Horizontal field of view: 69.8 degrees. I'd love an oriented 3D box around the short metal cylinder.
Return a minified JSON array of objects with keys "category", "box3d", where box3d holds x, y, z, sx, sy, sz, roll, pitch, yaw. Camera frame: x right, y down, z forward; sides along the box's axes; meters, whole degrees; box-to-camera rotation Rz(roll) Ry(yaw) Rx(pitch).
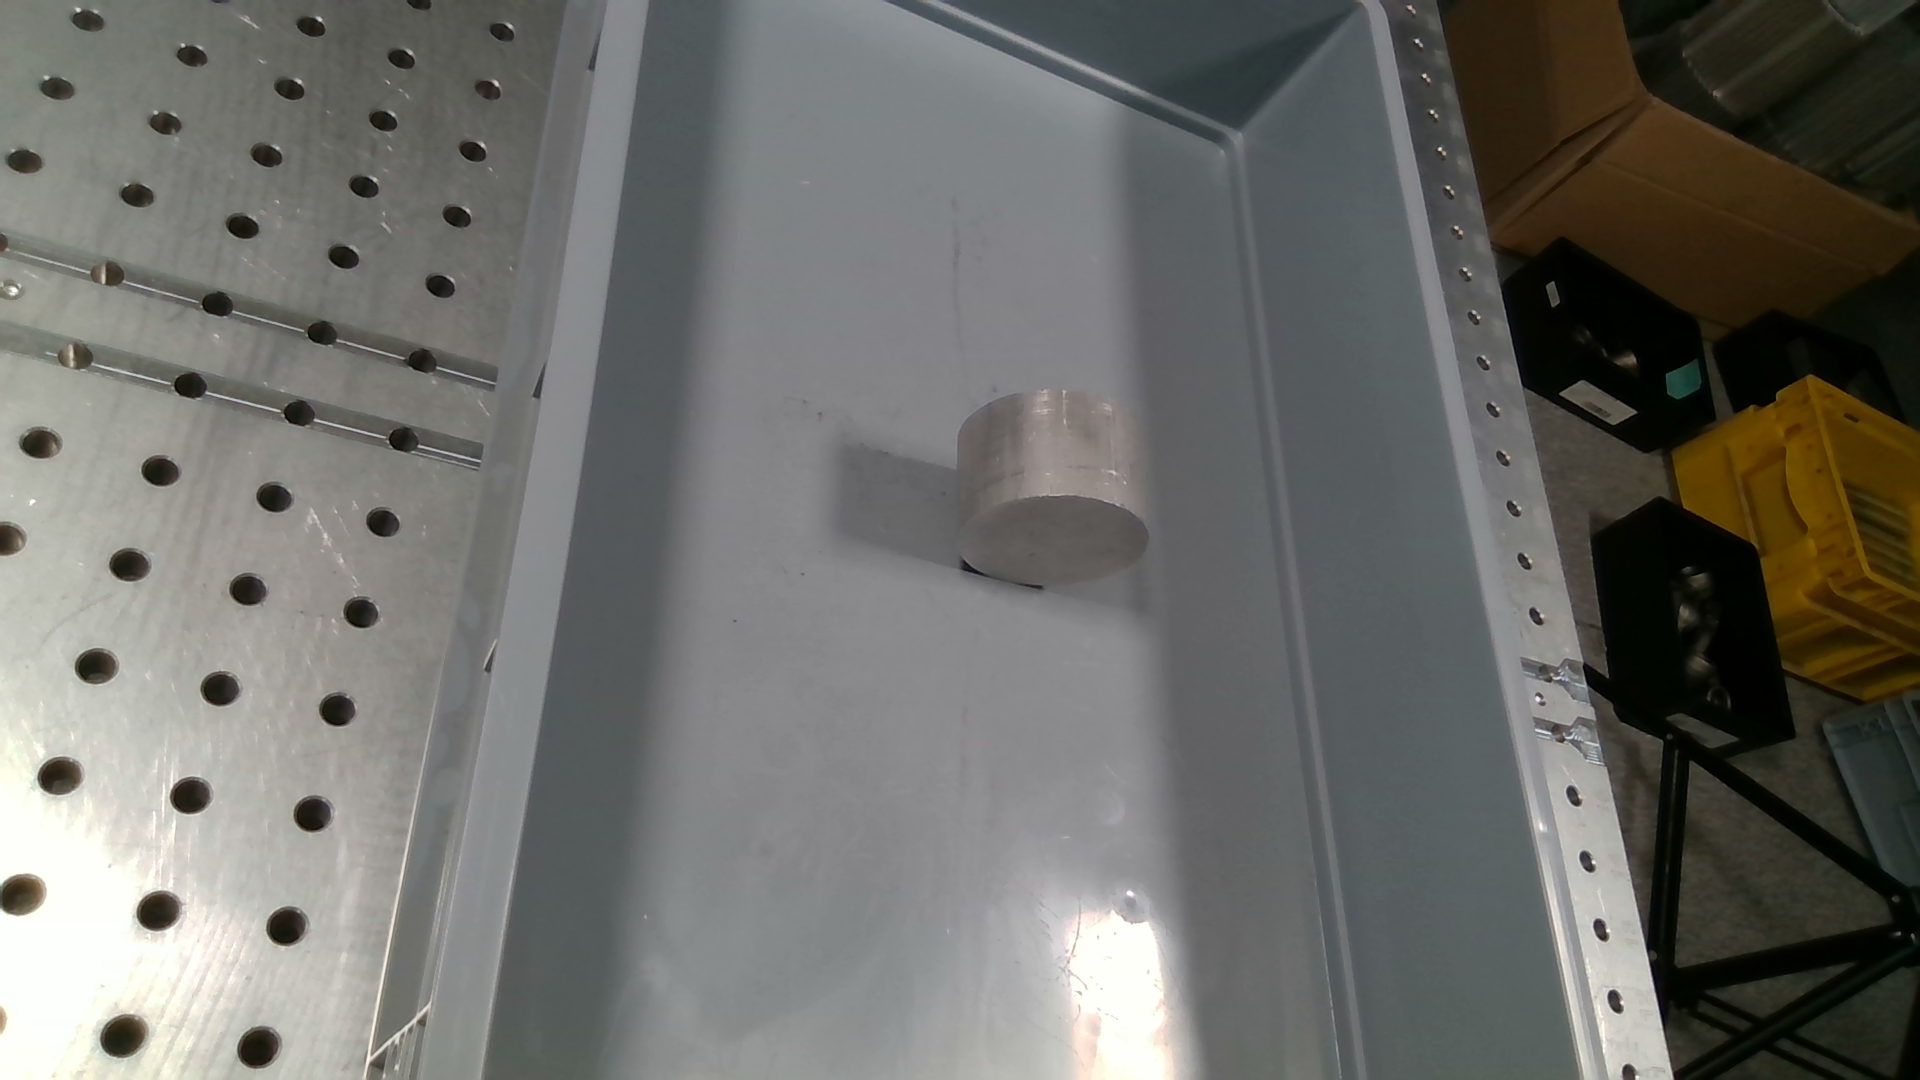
[{"category":"short metal cylinder","box3d":[0.038,-0.021,0.583,0.080,0.080,0.050,14,58,-25]}]
